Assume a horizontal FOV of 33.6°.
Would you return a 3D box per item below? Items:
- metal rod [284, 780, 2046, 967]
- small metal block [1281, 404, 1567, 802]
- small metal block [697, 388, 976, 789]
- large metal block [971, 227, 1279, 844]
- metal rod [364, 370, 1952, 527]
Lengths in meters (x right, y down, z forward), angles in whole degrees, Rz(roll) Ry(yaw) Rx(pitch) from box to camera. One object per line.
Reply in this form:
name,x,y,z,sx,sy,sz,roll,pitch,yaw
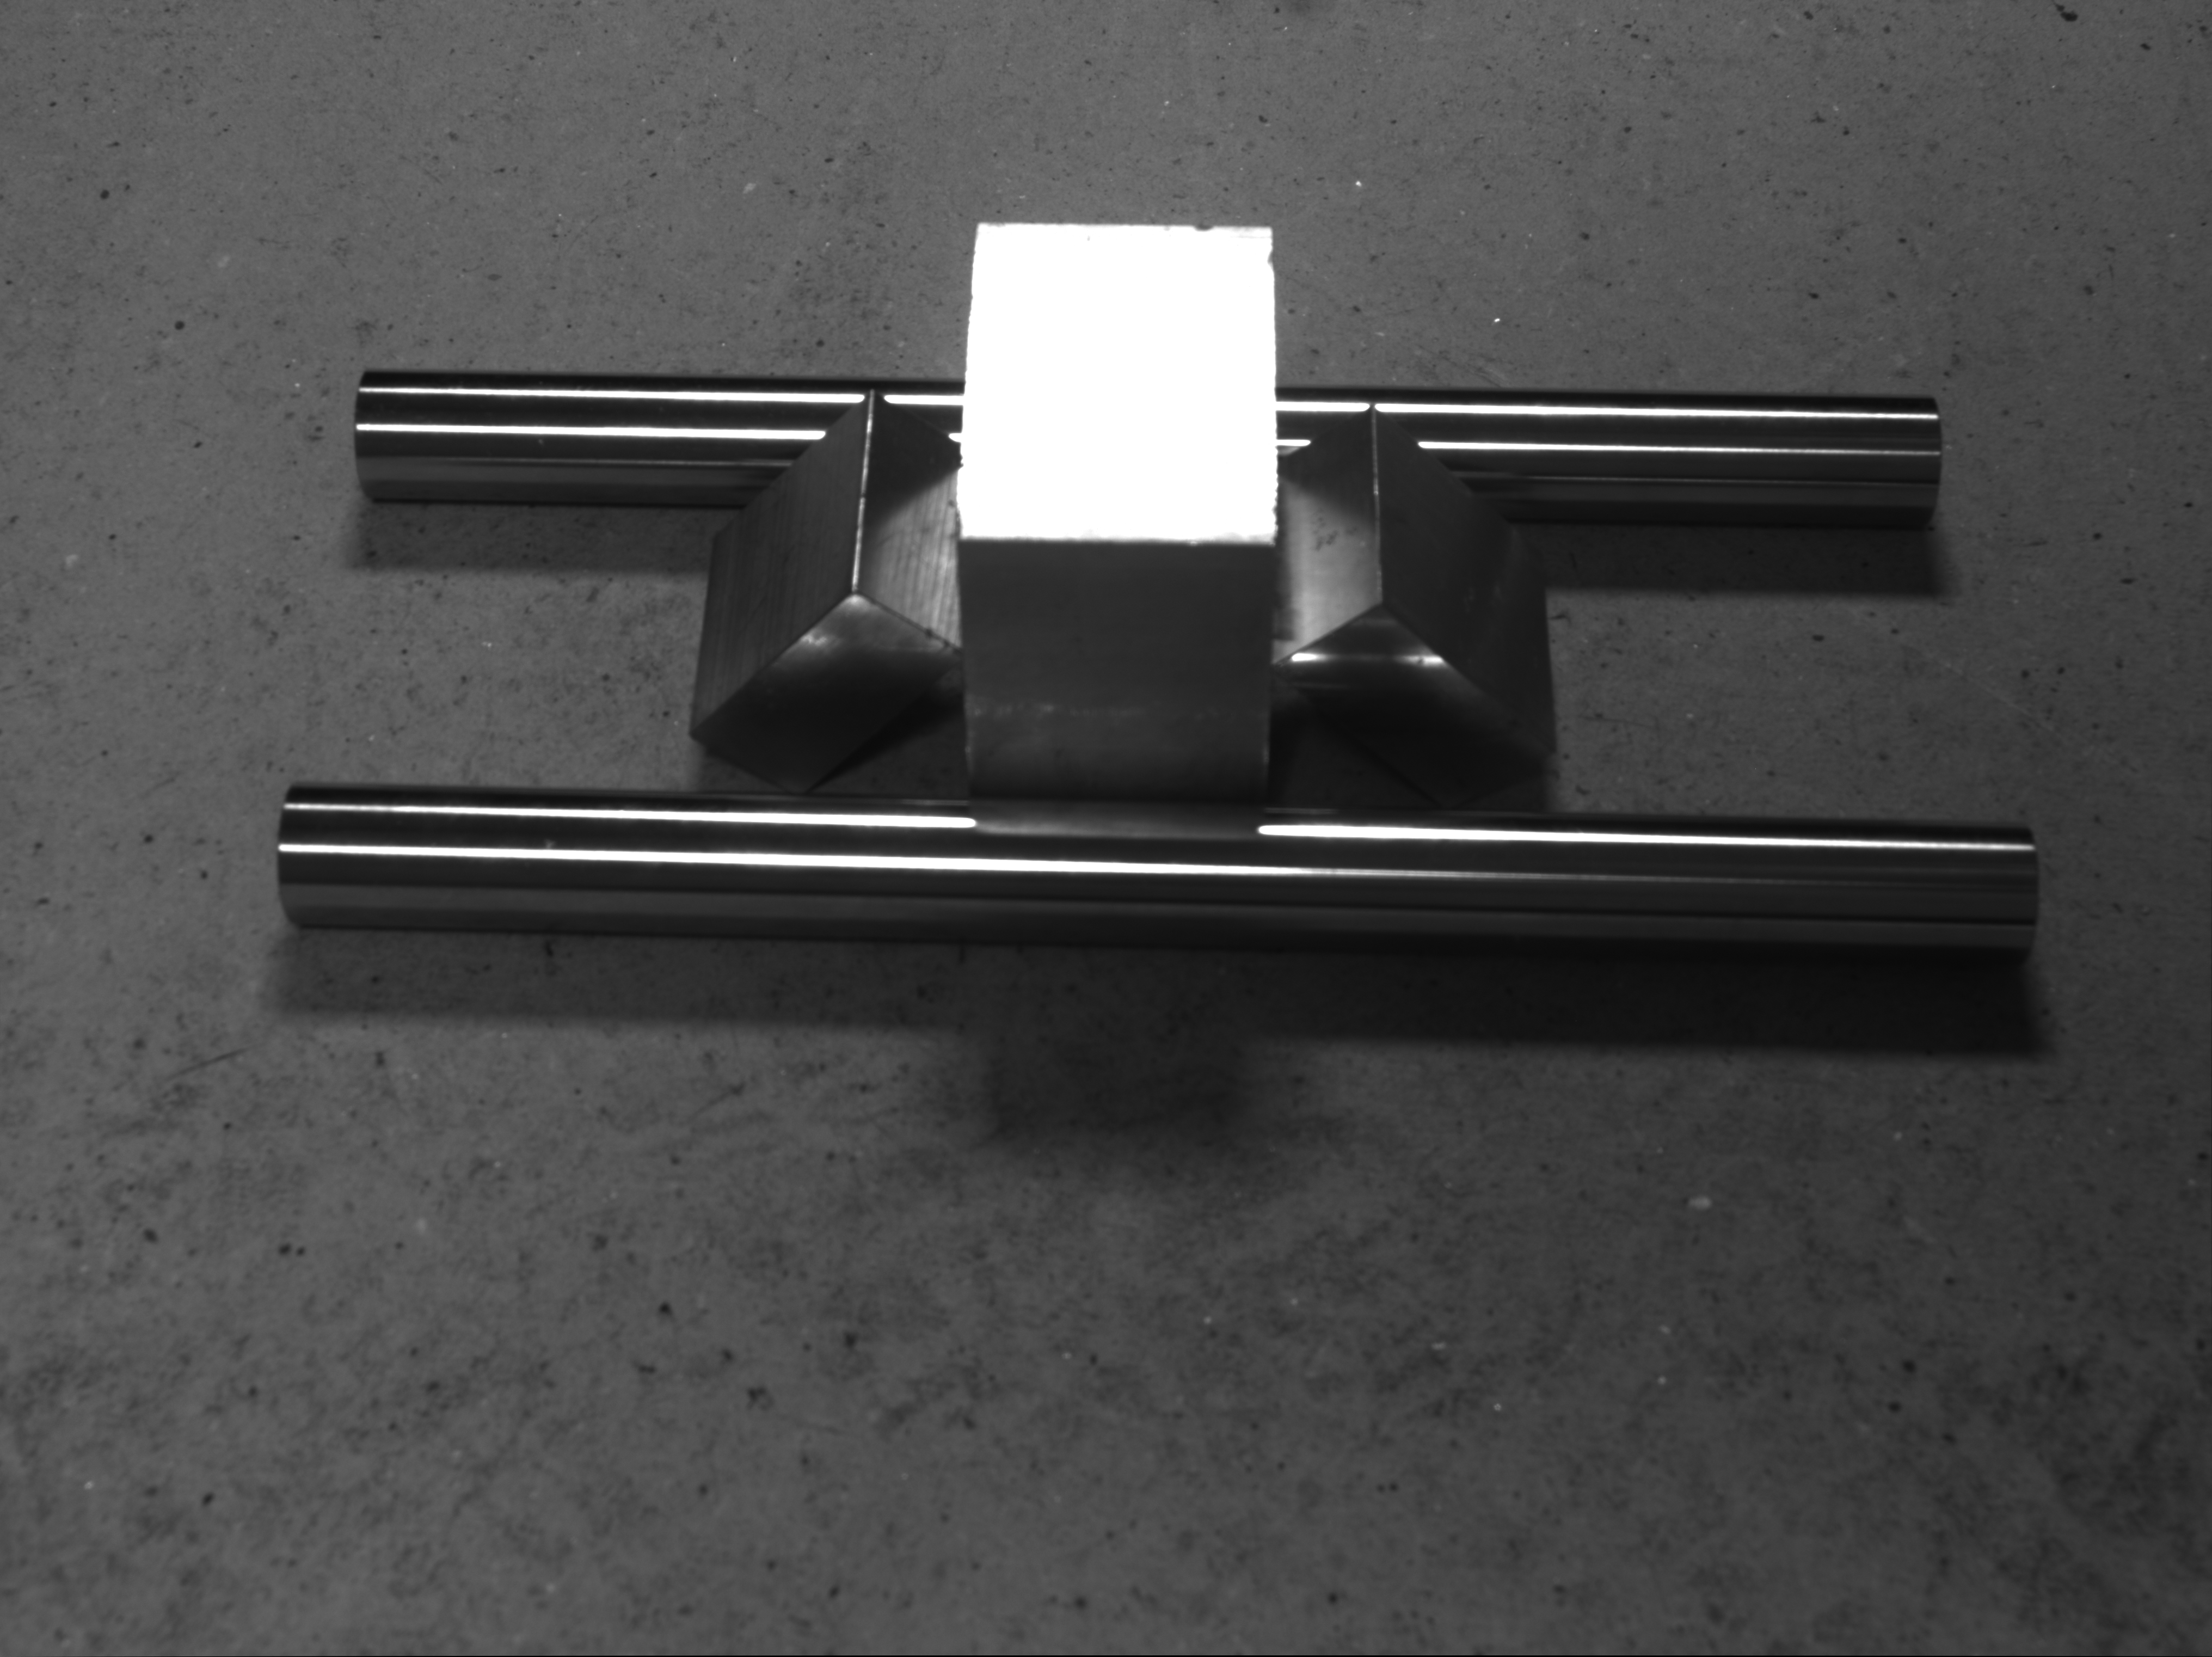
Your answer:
metal rod,0.010,0.008,0.636,0.300,0.025,0.025,1,50,1
small metal block,0.056,-0.039,0.657,0.025,0.050,0.050,-30,41,31
small metal block,-0.047,-0.042,0.660,0.025,0.050,0.050,28,43,-28
large metal block,0.004,-0.049,0.651,0.050,0.080,0.080,1,50,1
metal rod,0.010,-0.073,0.704,0.300,0.025,0.025,1,50,1
